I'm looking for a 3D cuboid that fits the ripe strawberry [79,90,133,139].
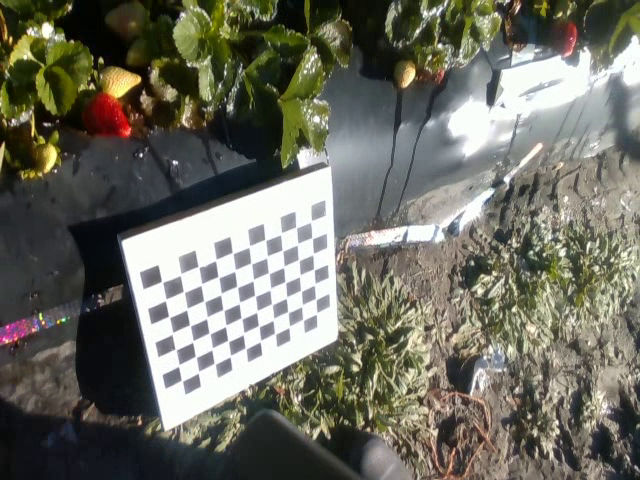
[{"bbox_3d":[-0.179,-0.103,0.657,0.053,0.040,0.042,33,-11,15],"label":"ripe strawberry"}]
